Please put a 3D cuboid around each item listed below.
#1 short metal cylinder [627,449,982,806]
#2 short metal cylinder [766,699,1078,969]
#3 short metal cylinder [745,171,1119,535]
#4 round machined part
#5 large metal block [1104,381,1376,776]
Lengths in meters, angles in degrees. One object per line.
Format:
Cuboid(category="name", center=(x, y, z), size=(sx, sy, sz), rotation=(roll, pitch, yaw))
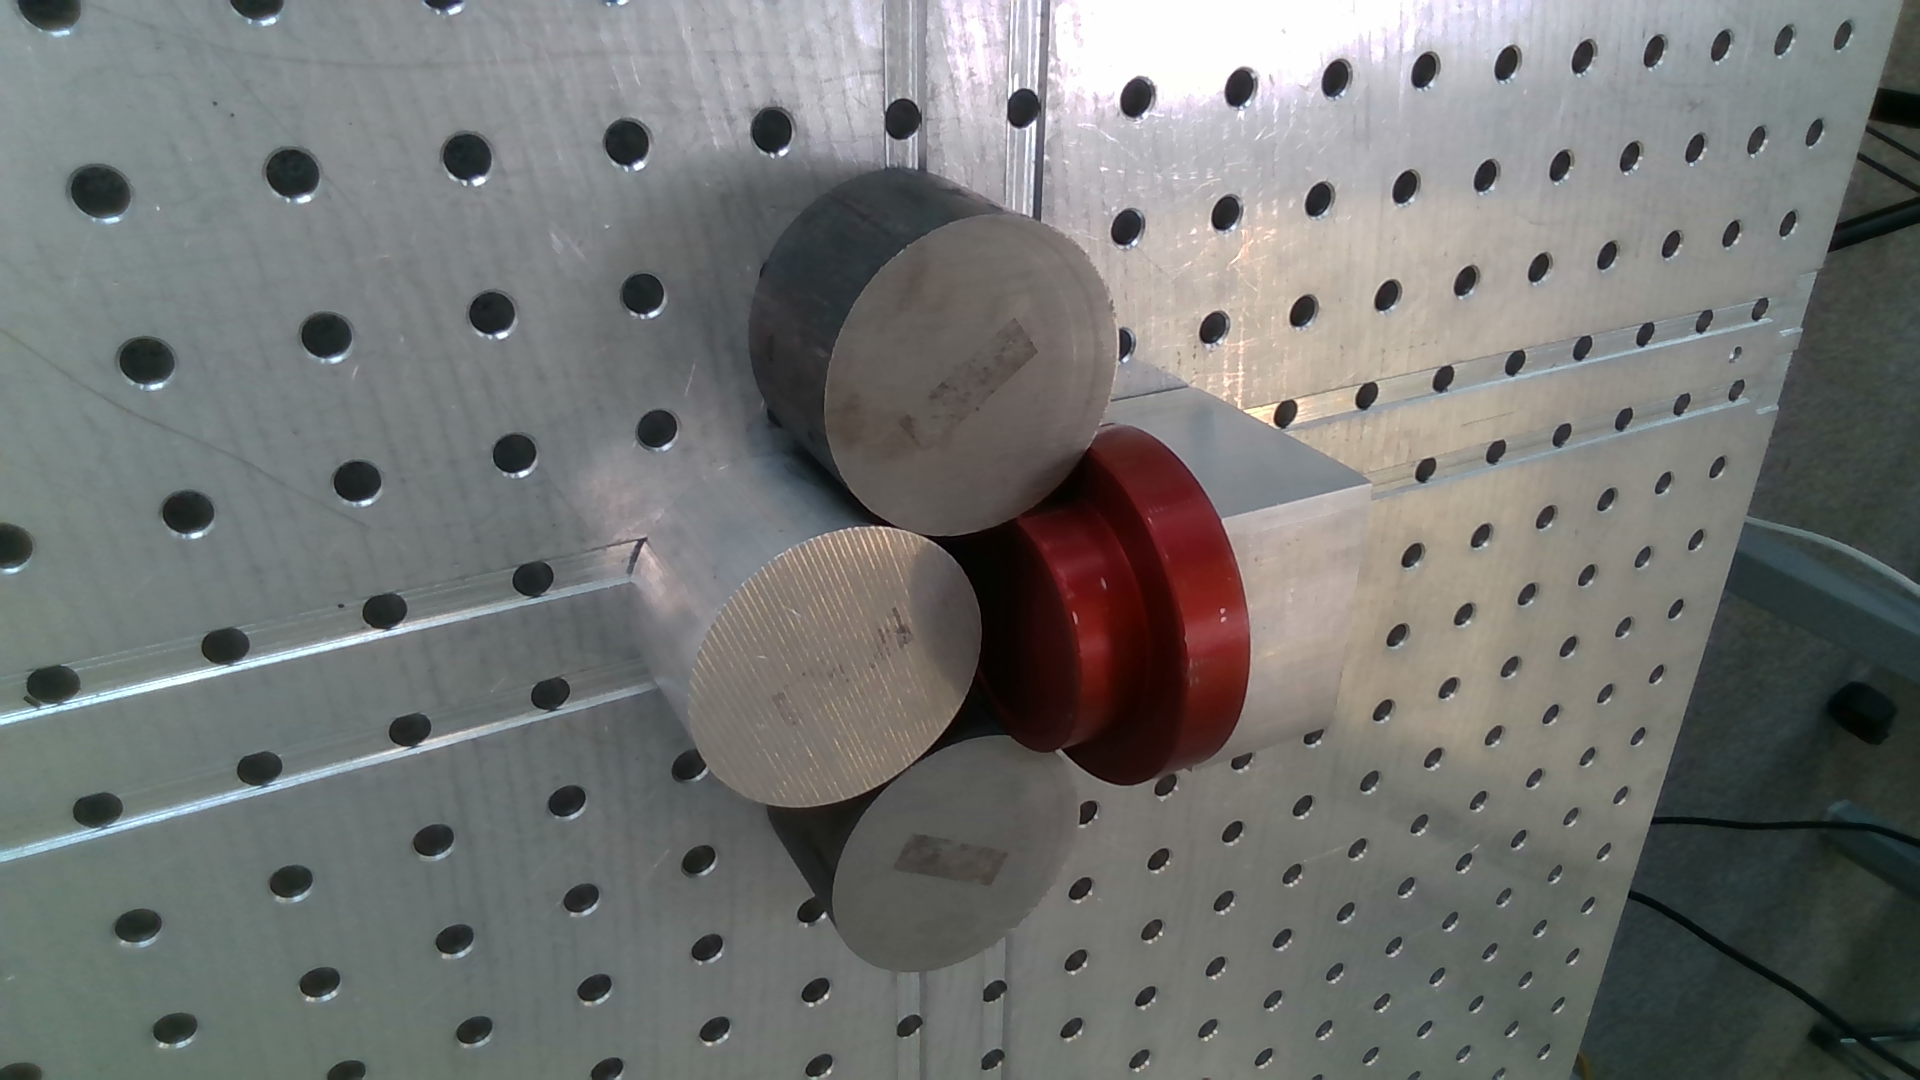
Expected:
Cuboid(category="short metal cylinder", center=(-0.041, 0.022, 0.364), size=(0.080, 0.050, 0.080), rotation=(-14, 122, -25))
Cuboid(category="short metal cylinder", center=(-0.012, 0.080, 0.413), size=(0.080, 0.050, 0.080), rotation=(-14, 122, -25))
Cuboid(category="short metal cylinder", center=(-0.007, -0.048, 0.347), size=(0.080, 0.050, 0.080), rotation=(-14, 122, -25))
Cuboid(category="round machined part", center=(0.032, 0.020, 0.374), size=(0.042, 0.098, 0.098), rotation=(-13, 121, -26))
Cuboid(category="large metal block", center=(0.069, 0.008, 0.403), size=(0.050, 0.080, 0.080), rotation=(-14, 121, -25))
